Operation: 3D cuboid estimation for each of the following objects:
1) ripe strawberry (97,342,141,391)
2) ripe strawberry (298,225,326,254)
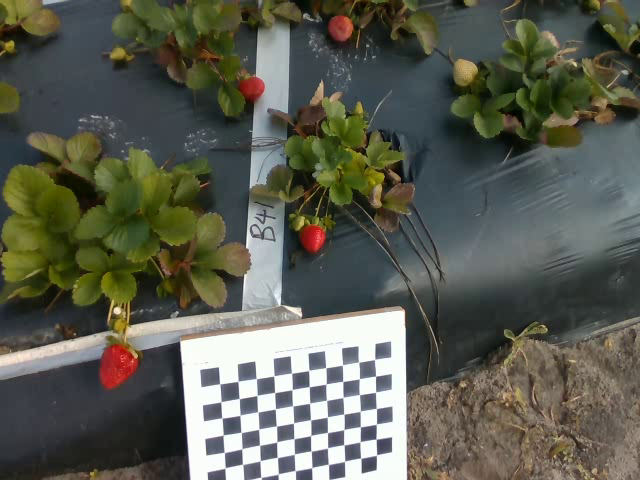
[{"bbox_3d":[-0.220,0.138,0.645,0.047,0.053,0.030,34,-24,-19],"label":"ripe strawberry"},{"bbox_3d":[-0.006,-0.001,0.721,0.038,0.048,0.030,8,-46,-15],"label":"ripe strawberry"}]
